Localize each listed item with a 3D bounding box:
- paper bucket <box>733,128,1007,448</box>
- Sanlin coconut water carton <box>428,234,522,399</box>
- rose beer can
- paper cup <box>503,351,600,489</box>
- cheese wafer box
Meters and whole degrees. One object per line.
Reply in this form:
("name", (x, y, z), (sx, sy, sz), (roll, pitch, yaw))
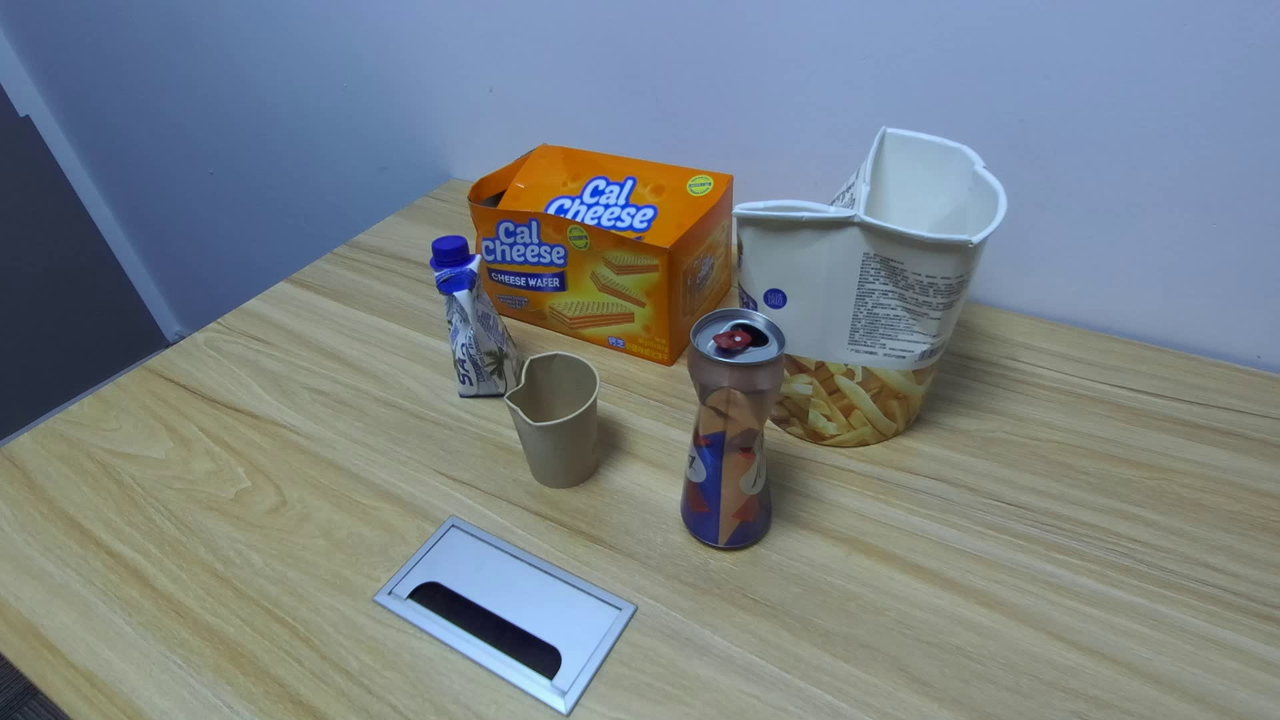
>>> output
("paper bucket", (0.169, -0.057, 0.557), (0.168, 0.202, 0.163), (13, 41, 16))
("Sanlin coconut water carton", (-0.148, -0.030, 0.599), (0.056, 0.145, 0.068), (-8, 44, 7))
("rose beer can", (0.061, 0.051, 0.459), (0.065, 0.167, 0.076), (12, 38, 17))
("paper cup", (-0.061, 0.049, 0.535), (0.069, 0.081, 0.073), (-30, 45, -29))
("cheese wafer box", (-0.039, -0.110, 0.693), (0.229, 0.132, 0.152), (18, 45, 23))
